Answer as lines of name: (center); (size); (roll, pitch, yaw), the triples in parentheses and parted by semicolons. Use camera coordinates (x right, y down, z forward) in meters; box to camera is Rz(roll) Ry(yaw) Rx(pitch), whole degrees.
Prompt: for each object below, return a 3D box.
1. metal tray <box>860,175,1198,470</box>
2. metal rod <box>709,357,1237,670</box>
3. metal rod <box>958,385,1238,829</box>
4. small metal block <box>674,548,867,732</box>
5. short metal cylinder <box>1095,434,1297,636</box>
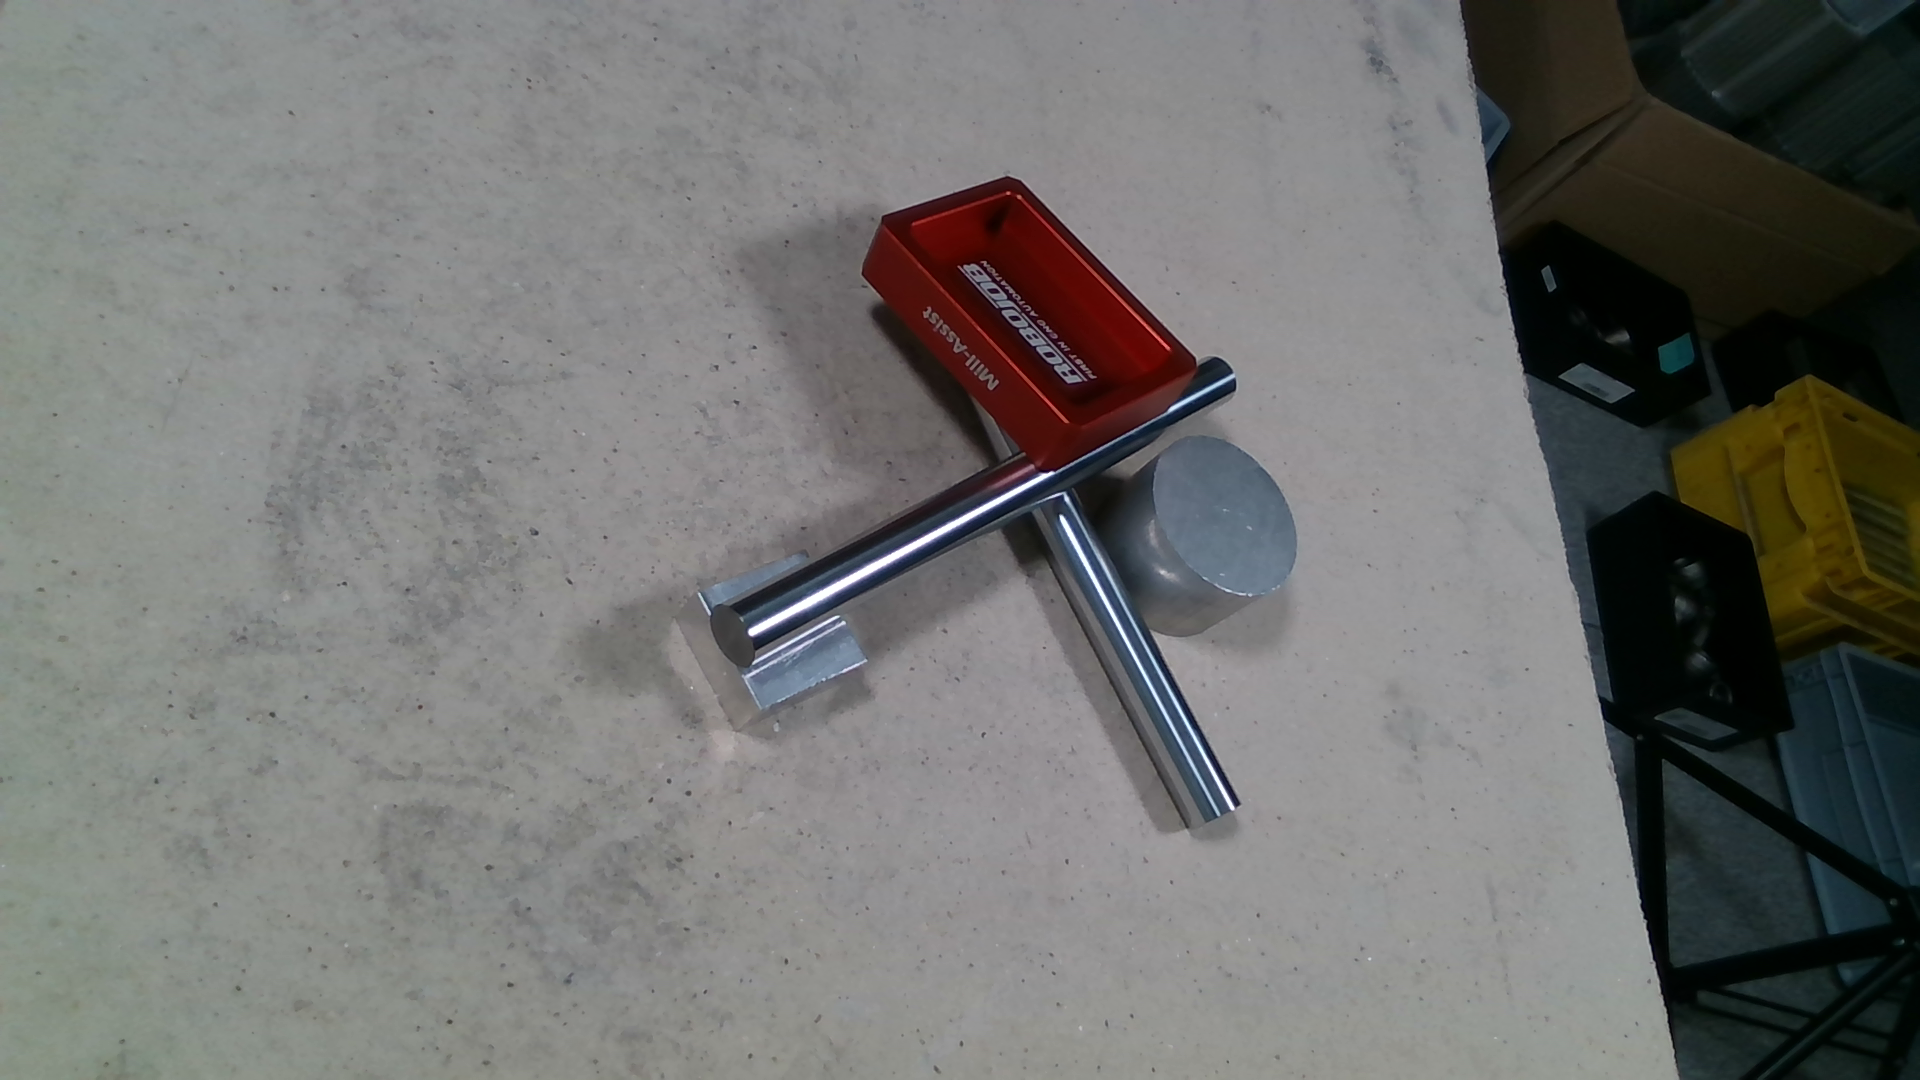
metal tray: (0.030, -0.099, 0.605); (0.090, 0.030, 0.130); (-29, 71, -39)
metal rod: (0.022, -0.021, 0.580); (0.300, 0.025, 0.025); (-29, 82, -39)
metal rod: (0.042, -0.013, 0.619); (0.025, 0.025, 0.300); (-18, 76, -37)
small metal block: (-0.072, 0.037, 0.522); (0.050, 0.025, 0.050); (-22, 78, -38)
short metal cylinder: (0.108, -0.002, 0.637); (0.080, 0.050, 0.080); (14, 59, -25)
